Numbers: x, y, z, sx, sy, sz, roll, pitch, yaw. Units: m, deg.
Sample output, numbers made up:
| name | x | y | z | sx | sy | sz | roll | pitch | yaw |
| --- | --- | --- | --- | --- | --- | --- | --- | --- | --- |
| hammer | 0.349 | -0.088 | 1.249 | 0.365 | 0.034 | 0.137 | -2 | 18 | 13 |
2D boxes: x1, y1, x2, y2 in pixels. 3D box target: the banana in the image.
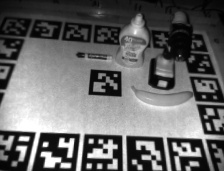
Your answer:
| name | x | y | z | sx | sy | sz | roll | pitch | yaw |
| --- | --- | --- | --- | --- | --- | --- | --- | --- | --- |
| banana | 0.150 | 0.037 | 0.691 | 0.197 | 0.039 | 0.074 | 9 | 58 | 0 |

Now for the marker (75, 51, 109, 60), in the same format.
| name | x | y | z | sx | sy | sz | roll | pitch | yaw |
| --- | --- | --- | --- | --- | --- | --- | --- | --- | --- |
| marker | -0.070 | -0.106 | 0.763 | 0.121 | 0.020 | 0.019 | 5 | 58 | -5 |

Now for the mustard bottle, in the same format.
| name | x | y | z | sx | sy | sz | roll | pitch | yaw |
| --- | --- | --- | --- | --- | --- | --- | --- | --- | --- |
| mustard bottle | 0.063 | -0.139 | 0.698 | 0.096 | 0.192 | 0.058 | 12 | 56 | 1 |

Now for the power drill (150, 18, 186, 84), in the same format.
| name | x | y | z | sx | sy | sz | roll | pitch | yaw |
| --- | --- | --- | --- | --- | --- | --- | --- | --- | --- |
| power drill | 0.169 | -0.088 | 0.660 | 0.057 | 0.187 | 0.184 | 15 | 54 | 2 |
